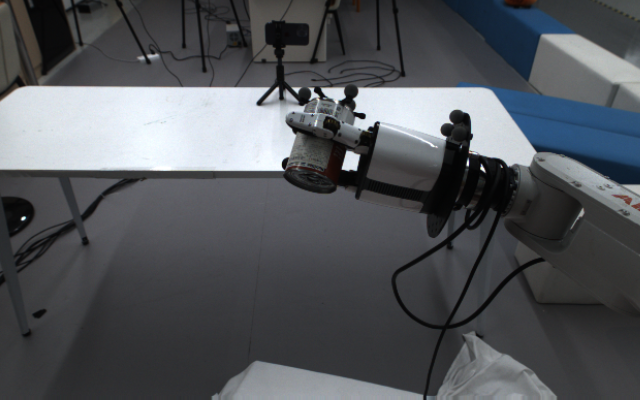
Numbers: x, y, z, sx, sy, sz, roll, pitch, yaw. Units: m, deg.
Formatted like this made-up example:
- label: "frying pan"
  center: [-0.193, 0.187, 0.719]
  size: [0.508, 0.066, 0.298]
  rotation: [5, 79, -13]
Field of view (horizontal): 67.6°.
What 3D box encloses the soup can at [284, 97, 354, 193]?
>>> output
- label: "soup can"
  center: [0.002, -0.067, 0.606]
  size: [0.067, 0.067, 0.101]
  rotation: [11, 72, 13]
